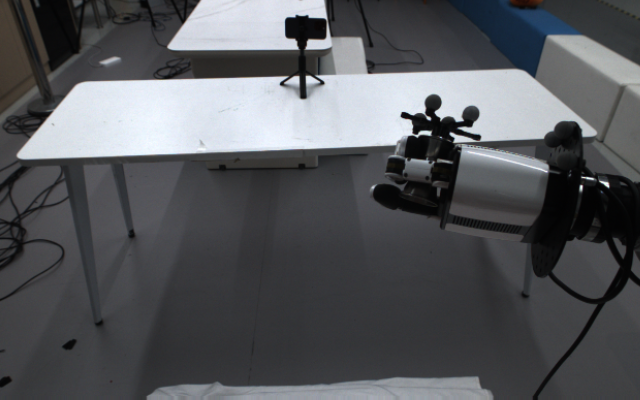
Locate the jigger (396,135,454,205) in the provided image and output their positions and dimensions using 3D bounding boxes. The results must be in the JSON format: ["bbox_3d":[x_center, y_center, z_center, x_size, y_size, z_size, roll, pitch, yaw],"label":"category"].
[{"bbox_3d":[0.116,-0.032,0.520,0.043,0.071,0.043,18,-6,2],"label":"jigger"}]
